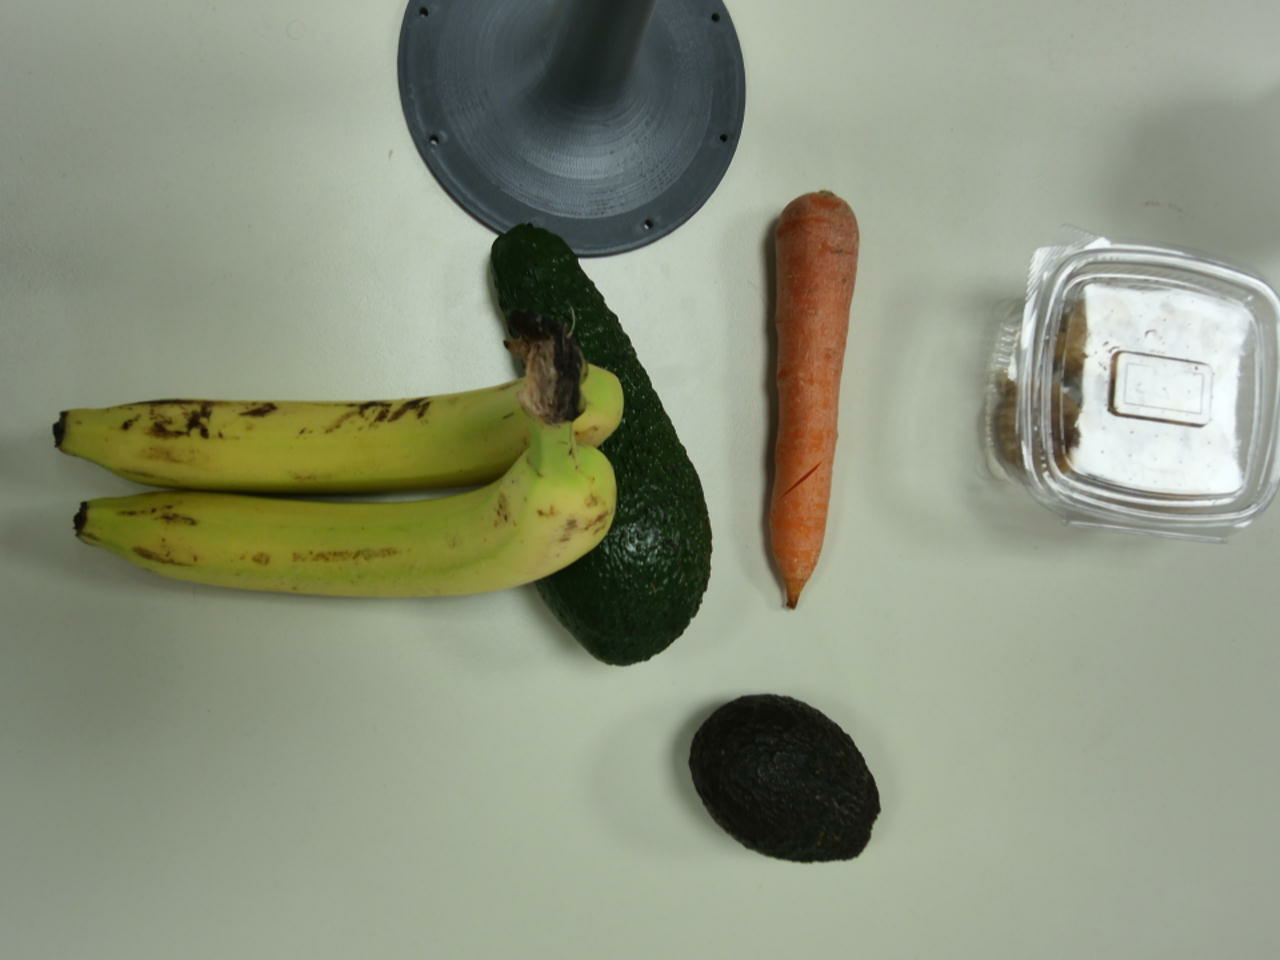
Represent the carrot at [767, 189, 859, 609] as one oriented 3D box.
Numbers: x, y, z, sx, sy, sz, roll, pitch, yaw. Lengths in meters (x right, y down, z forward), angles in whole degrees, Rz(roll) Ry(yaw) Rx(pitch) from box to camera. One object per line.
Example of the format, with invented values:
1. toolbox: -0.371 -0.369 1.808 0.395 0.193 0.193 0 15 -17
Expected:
1. carrot: 0.081 -0.036 0.469 0.039 0.041 0.196 1 90 -12
